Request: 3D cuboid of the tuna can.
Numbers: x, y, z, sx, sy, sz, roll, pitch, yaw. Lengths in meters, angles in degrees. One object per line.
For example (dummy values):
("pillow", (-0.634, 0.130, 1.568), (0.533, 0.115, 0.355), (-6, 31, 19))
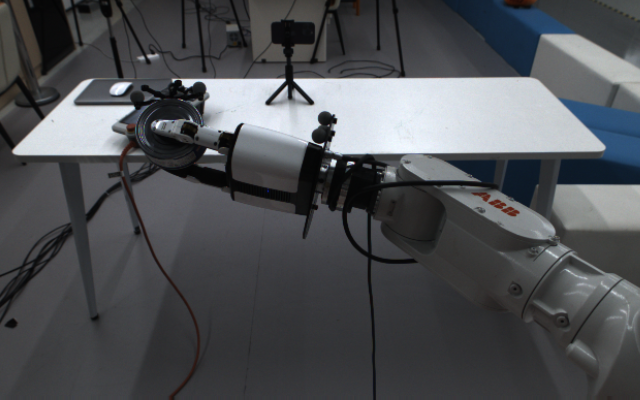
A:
("tuna can", (-0.185, -0.085, 0.608), (0.085, 0.034, 0.085), (0, 72, -1))
